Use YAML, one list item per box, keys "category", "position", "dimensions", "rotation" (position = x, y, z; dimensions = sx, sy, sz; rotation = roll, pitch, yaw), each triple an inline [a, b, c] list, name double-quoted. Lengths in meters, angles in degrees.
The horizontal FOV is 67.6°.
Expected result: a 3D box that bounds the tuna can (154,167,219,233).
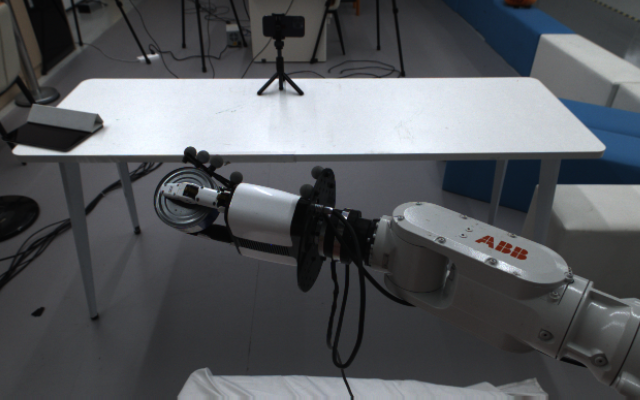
- category: "tuna can"
  position: [-0.176, 0.002, 0.654]
  dimensions: [0.085, 0.034, 0.085]
  rotation: [-2, 70, 6]
